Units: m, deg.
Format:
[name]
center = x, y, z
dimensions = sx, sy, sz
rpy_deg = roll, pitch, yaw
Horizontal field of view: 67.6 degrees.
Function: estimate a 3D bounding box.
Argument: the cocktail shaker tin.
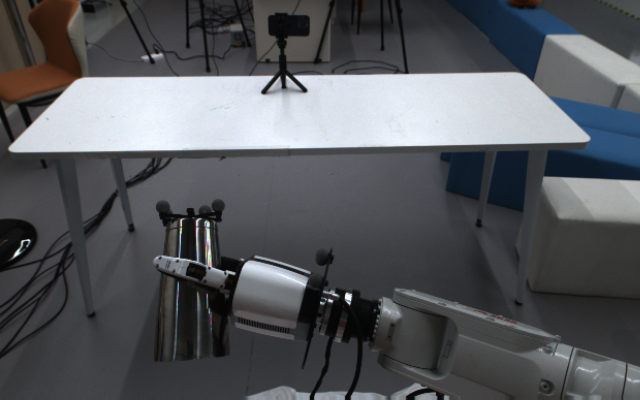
[cocktail shaker tin]
center = -0.164, 0.114, 0.618
dimensions = 0.093, 0.093, 0.170
rpy_deg = -3, 76, -7
